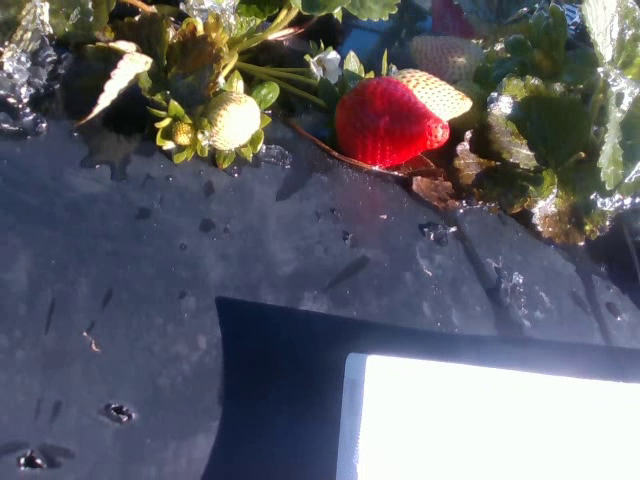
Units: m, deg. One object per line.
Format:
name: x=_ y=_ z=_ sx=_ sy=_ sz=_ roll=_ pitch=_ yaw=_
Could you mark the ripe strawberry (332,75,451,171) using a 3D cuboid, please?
ripe strawberry: x=0.030 y=-0.044 z=0.242 sx=0.040 sy=0.042 sz=0.053 roll=-29 pitch=30 yaw=-24
